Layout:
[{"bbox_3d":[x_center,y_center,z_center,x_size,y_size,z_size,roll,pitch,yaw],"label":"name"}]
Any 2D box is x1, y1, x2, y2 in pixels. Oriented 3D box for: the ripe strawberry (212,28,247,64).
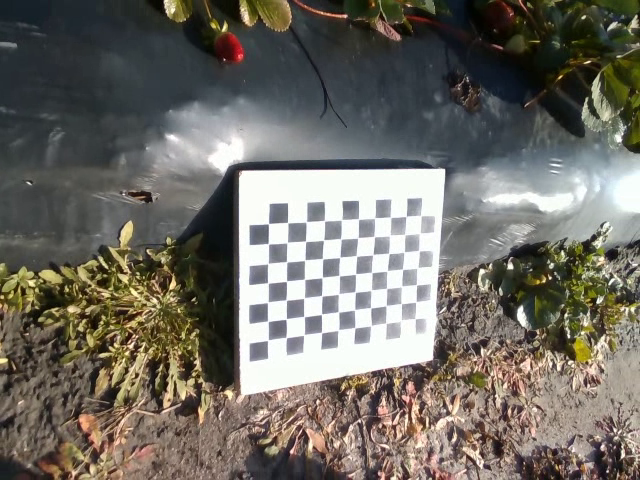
[{"bbox_3d":[-0.086,-0.174,0.511,0.028,0.041,0.031,-30,-35,-17],"label":"ripe strawberry"}]
